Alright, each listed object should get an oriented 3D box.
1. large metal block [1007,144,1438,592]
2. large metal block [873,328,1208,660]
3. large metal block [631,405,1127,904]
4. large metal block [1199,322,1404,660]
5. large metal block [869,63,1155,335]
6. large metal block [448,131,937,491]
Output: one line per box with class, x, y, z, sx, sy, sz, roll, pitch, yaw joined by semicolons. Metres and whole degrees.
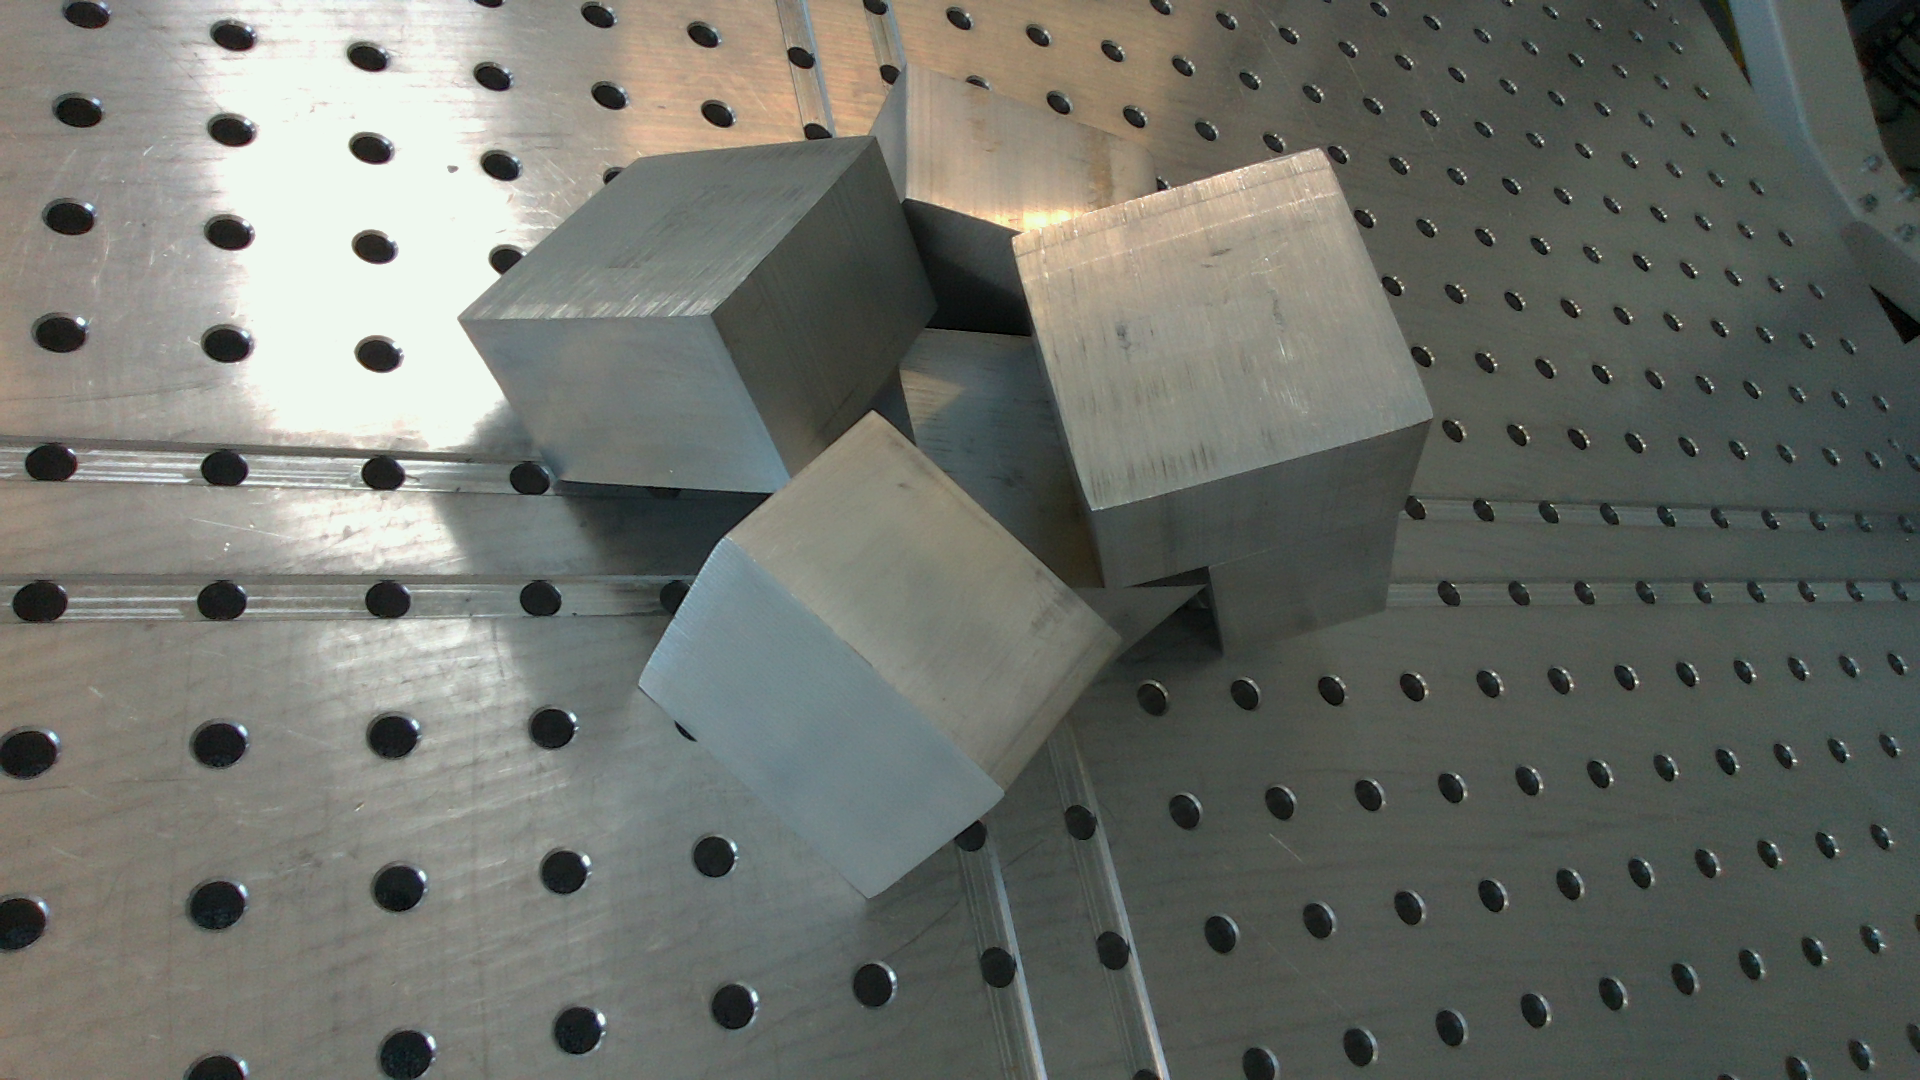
large metal block;0.063;-0.042;0.347;0.080;0.050;0.080;-15;64;2
large metal block;0.013;-0.011;0.390;0.080;0.050;0.080;1;61;-28
large metal block;-0.022;0.030;0.326;0.080;0.080;0.050;43;50;1
large metal block;0.089;-0.021;0.407;0.050;0.080;0.080;-17;65;6
large metal block;0.004;-0.083;0.411;0.080;0.080;0.050;12;56;-21
large metal block;-0.065;-0.058;0.350;0.080;0.080;0.050;-58;140;-39
